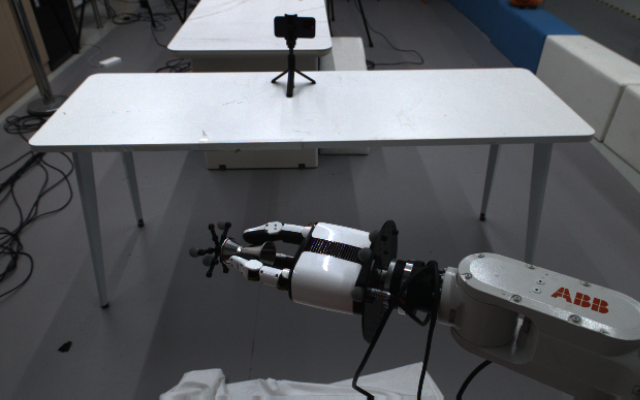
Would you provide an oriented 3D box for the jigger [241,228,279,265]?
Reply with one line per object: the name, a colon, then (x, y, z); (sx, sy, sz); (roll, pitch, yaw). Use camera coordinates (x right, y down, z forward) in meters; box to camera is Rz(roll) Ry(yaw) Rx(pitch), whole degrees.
jigger: (-0.095, 0.070, 0.694); (0.071, 0.043, 0.043); (4, 33, 25)
